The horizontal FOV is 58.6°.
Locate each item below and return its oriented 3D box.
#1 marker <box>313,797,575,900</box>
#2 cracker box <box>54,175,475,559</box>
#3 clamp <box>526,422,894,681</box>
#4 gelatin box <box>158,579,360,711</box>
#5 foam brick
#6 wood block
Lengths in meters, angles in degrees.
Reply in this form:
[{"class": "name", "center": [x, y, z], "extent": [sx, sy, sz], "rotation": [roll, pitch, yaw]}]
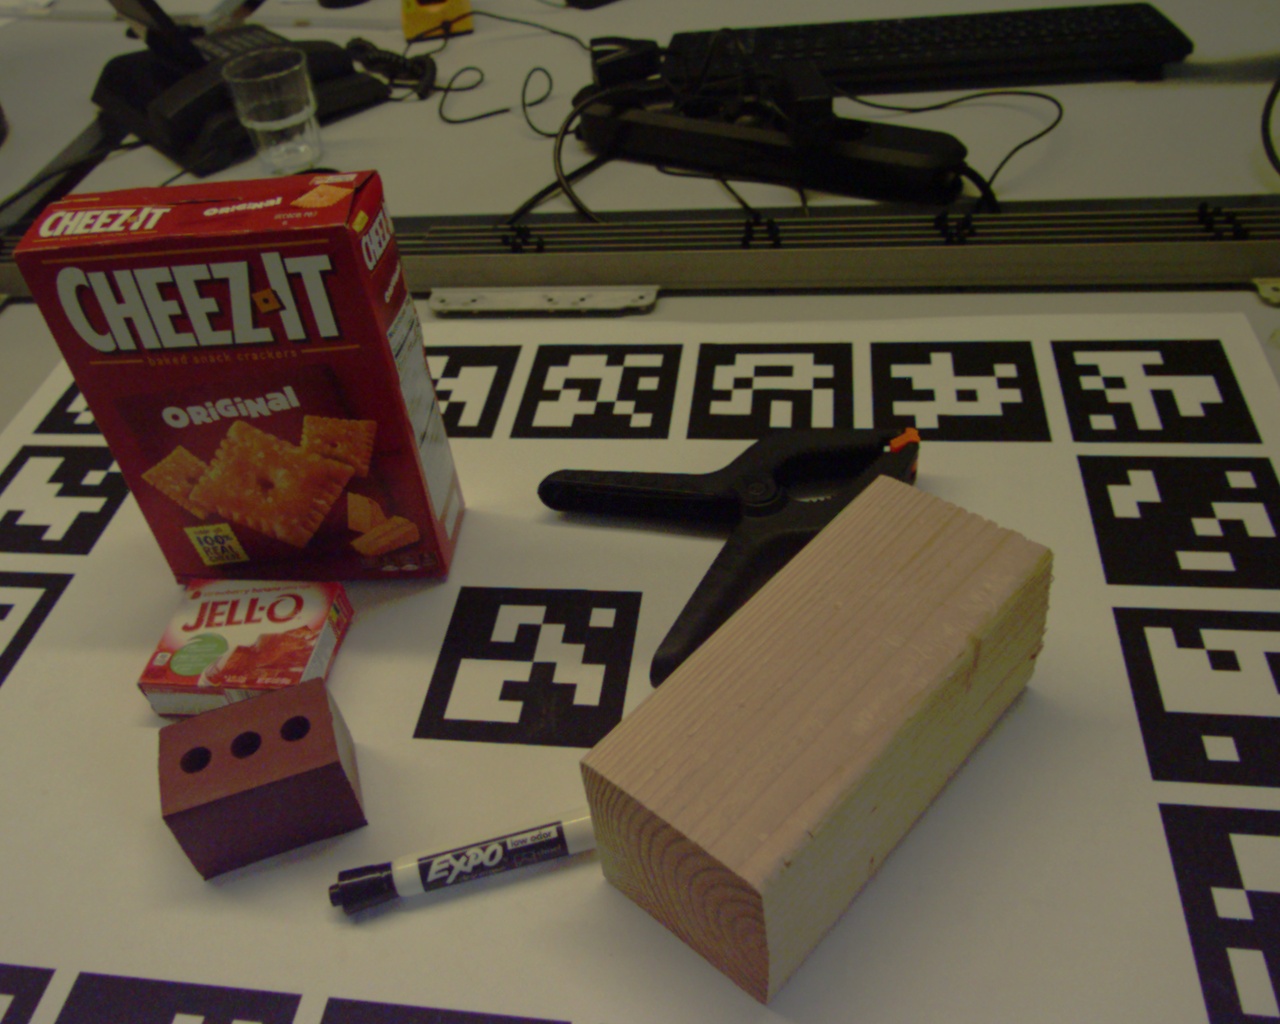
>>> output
[{"class": "marker", "center": [-0.090, 0.156, 0.526], "extent": [0.121, 0.019, 0.020], "rotation": [-14, 47, -4]}, {"class": "cracker box", "center": [-0.191, -0.068, 0.622], "extent": [0.165, 0.212, 0.072], "rotation": [0, 44, 5]}, {"class": "clamp", "center": [0.056, -0.003, 0.648], "extent": [0.202, 0.036, 0.167], "rotation": [-22, 47, -12]}, {"class": "gelatin box", "center": [-0.207, 0.072, 0.625], "extent": [0.090, 0.030, 0.073], "rotation": [0, 47, 9]}, {"class": "foam brick", "center": [-0.177, 0.122, 0.552], "extent": [0.078, 0.051, 0.053], "rotation": [-17, 47, -8]}, {"class": "wood block", "center": [0.075, 0.090, 0.522], "extent": [0.091, 0.090, 0.204], "rotation": [28, 53, 34]}]
